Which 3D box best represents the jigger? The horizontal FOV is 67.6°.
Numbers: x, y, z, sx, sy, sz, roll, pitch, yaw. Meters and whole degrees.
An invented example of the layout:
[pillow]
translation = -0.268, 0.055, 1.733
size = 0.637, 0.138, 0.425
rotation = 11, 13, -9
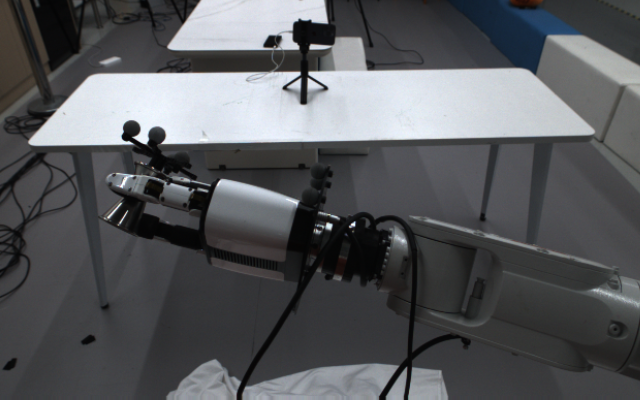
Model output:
[jigger]
translation = -0.191, -0.002, 0.501
size = 0.043, 0.043, 0.071
rotation = 20, 73, 24
